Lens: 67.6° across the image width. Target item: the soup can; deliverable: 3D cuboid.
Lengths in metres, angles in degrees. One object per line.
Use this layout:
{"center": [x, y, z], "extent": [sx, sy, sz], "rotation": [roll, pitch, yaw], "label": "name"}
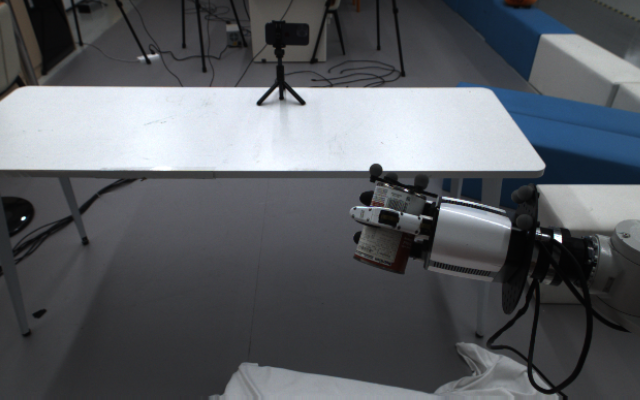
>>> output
{"center": [0.091, 0.035, 0.616], "extent": [0.067, 0.101, 0.067], "rotation": [17, -1, 0], "label": "soup can"}
